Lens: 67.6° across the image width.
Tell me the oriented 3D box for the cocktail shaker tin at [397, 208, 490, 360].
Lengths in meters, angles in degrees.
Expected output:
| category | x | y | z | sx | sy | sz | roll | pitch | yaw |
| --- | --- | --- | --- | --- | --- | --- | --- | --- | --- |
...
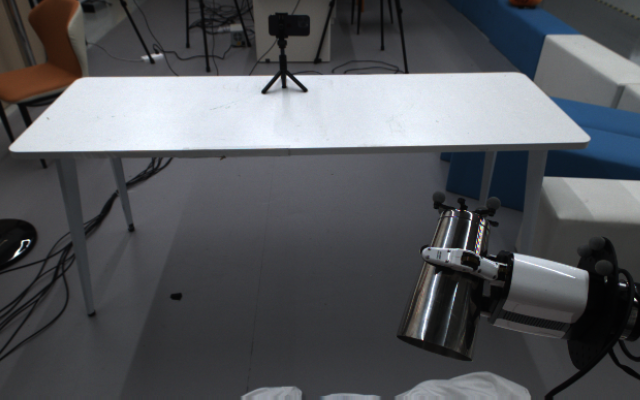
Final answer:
| category | x | y | z | sx | sy | sz | roll | pitch | yaw |
| --- | --- | --- | --- | --- | --- | --- | --- | --- | --- |
| cocktail shaker tin | 0.161 | 0.100 | 0.604 | 0.093 | 0.093 | 0.170 | 14 | 69 | 17 |
